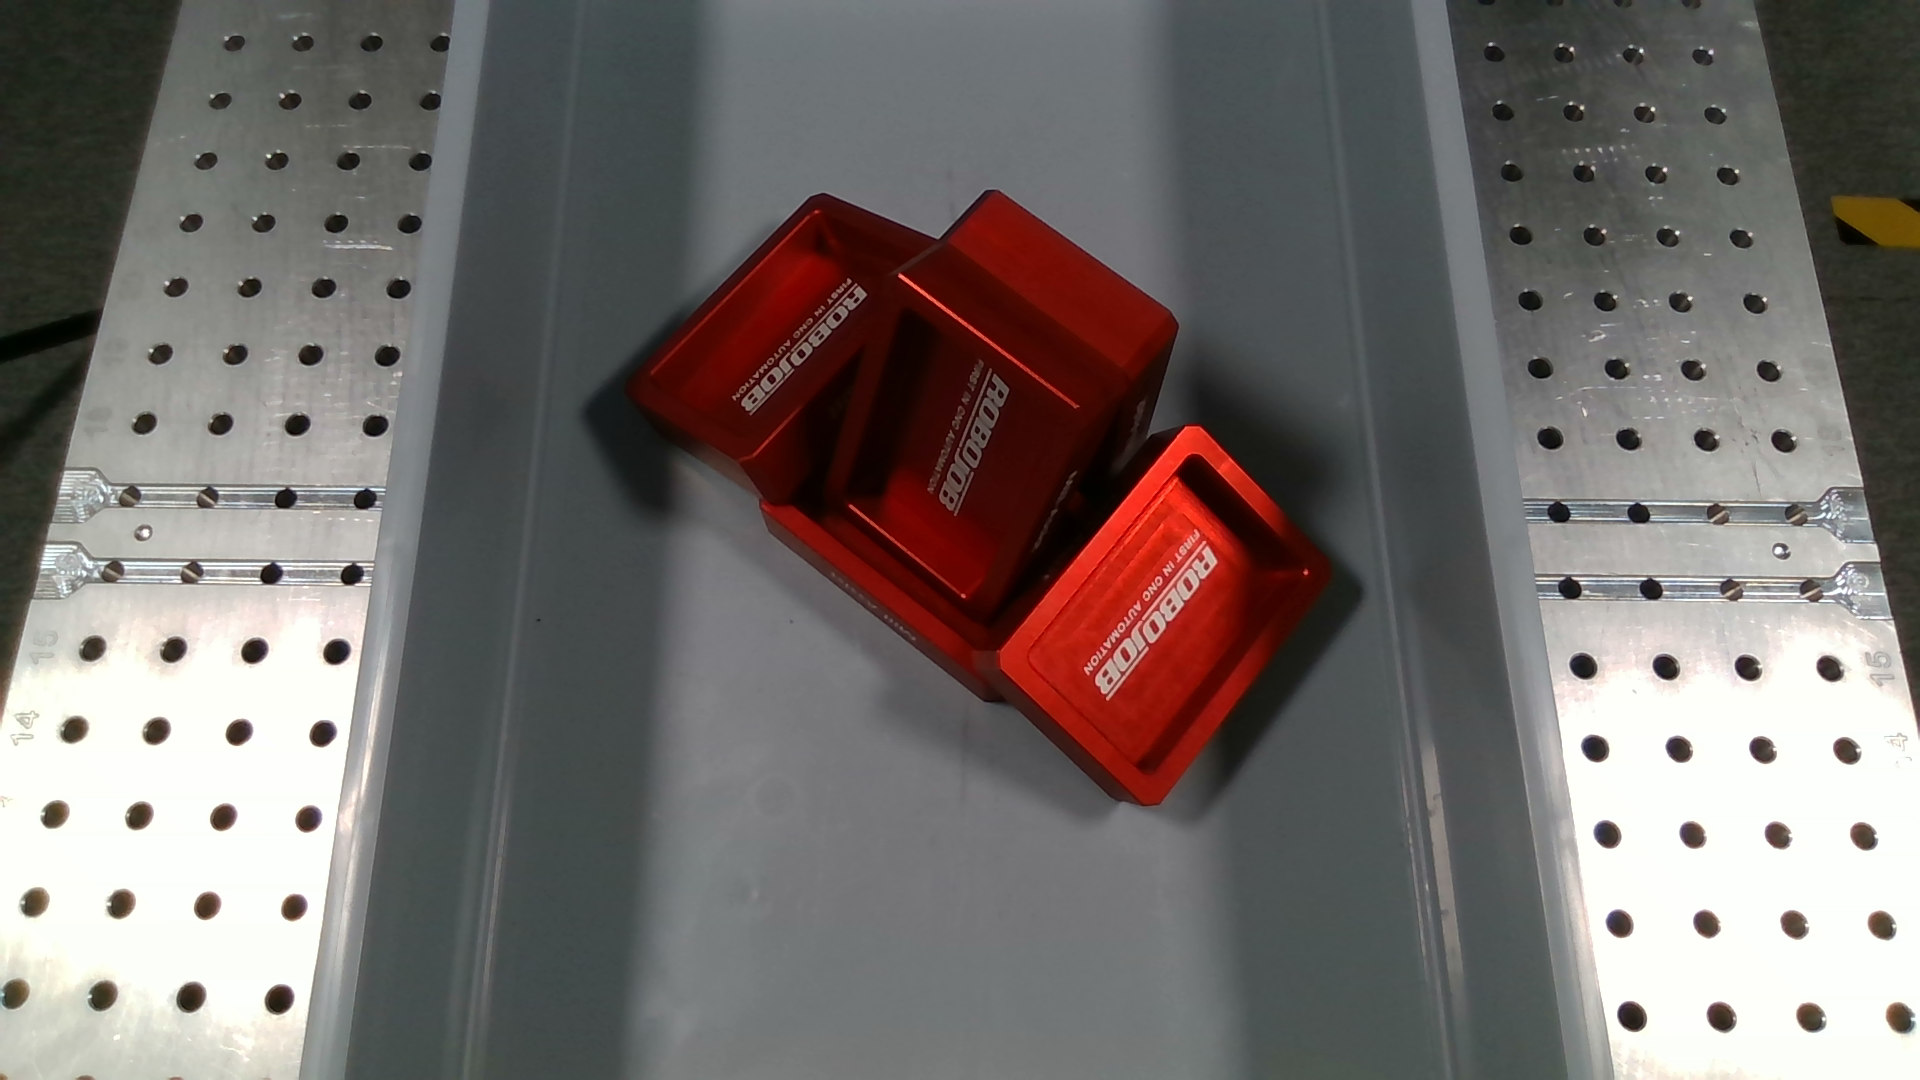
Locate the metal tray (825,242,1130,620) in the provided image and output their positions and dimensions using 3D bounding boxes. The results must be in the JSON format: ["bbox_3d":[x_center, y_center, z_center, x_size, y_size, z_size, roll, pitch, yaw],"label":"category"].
[{"bbox_3d":[0.001,-0.038,0.532,0.090,0.130,0.030,38,51,12],"label":"metal tray"}]

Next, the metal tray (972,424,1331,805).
[{"bbox_3d":[0.079,0.029,0.555,0.090,0.030,0.130,44,74,-12],"label":"metal tray"}]

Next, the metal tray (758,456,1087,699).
[{"bbox_3d":[-0.009,-0.005,0.585,0.130,0.030,0.090,37,74,12],"label":"metal tray"}]

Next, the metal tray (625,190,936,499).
[{"bbox_3d":[-0.070,-0.088,0.597,0.090,0.030,0.130,30,72,36],"label":"metal tray"}]

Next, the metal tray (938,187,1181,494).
[{"bbox_3d":[0.035,-0.073,0.556,0.090,0.130,0.030,38,74,13],"label":"metal tray"}]
